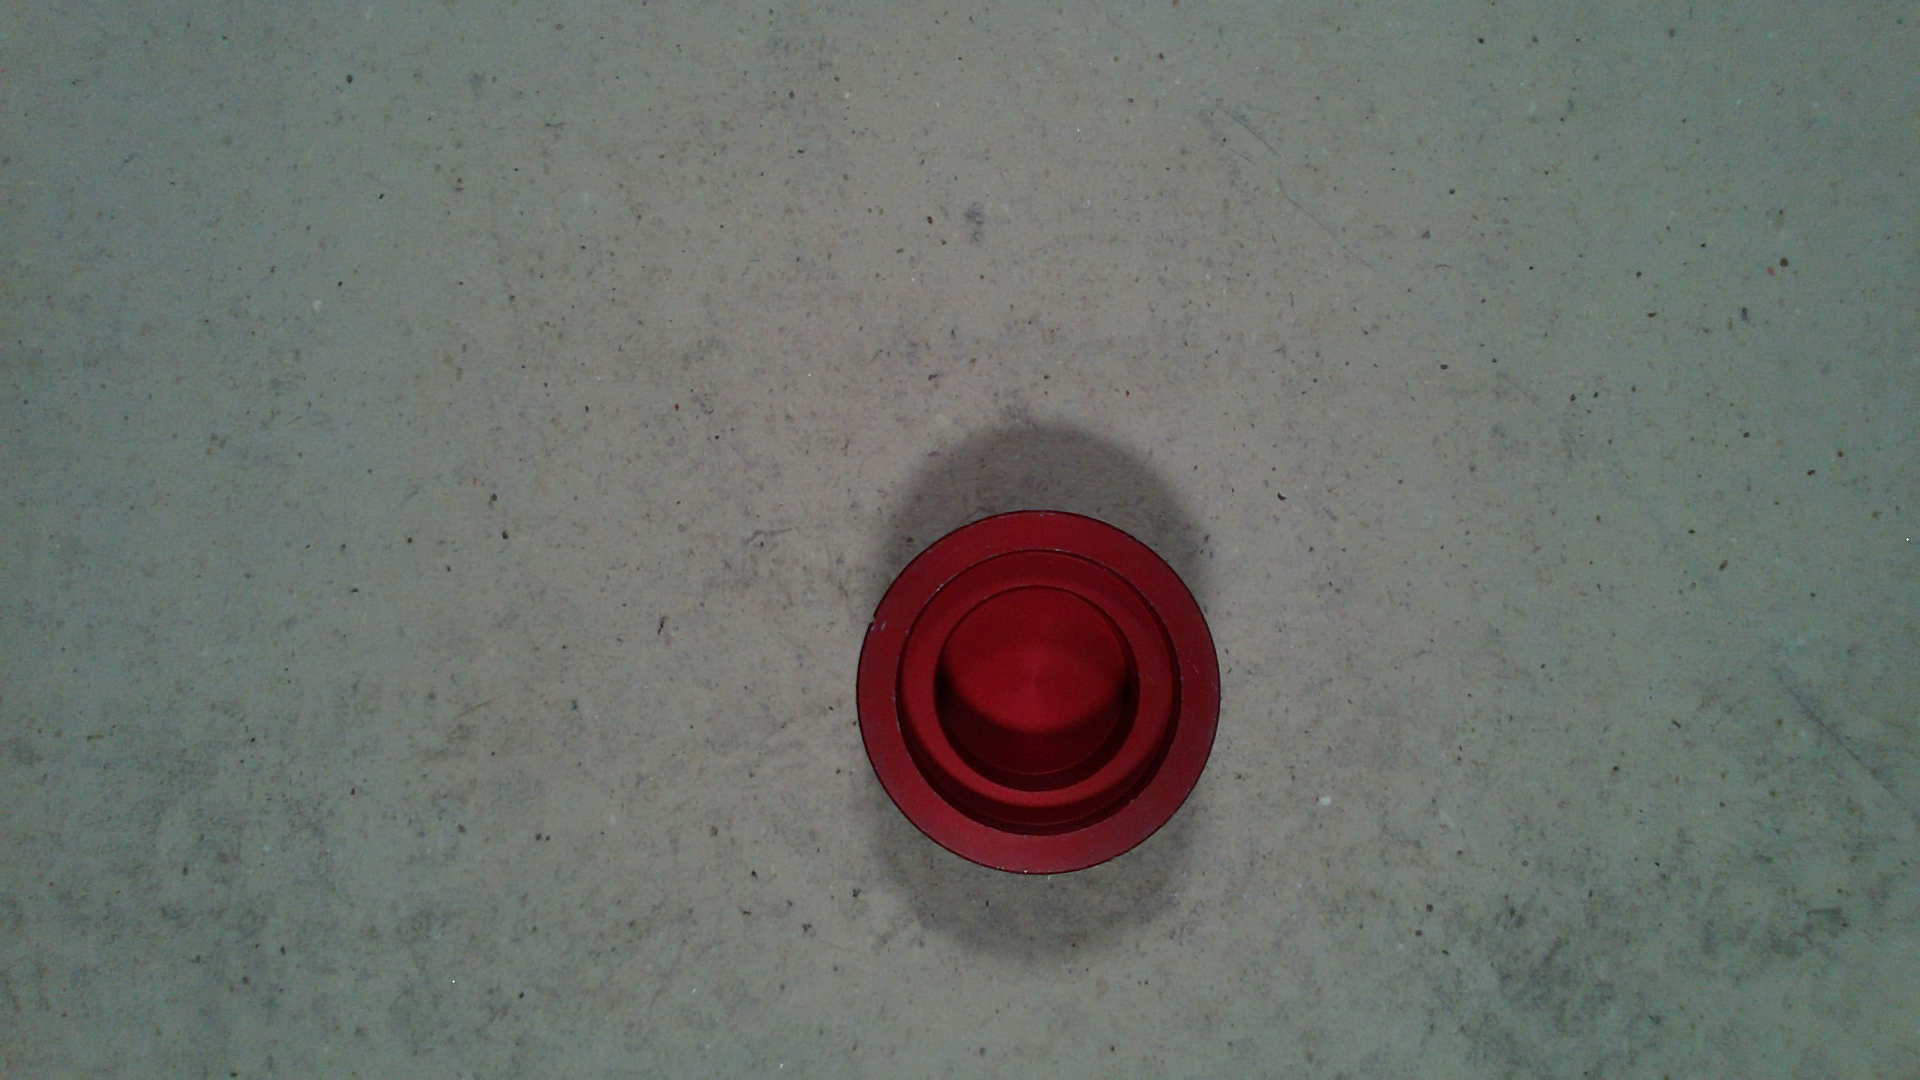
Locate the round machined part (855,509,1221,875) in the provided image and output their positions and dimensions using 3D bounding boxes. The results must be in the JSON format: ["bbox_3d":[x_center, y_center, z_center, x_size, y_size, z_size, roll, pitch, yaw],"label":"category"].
[{"bbox_3d":[0.021,0.041,0.387,0.098,0.042,0.098,0,90,0],"label":"round machined part"}]
